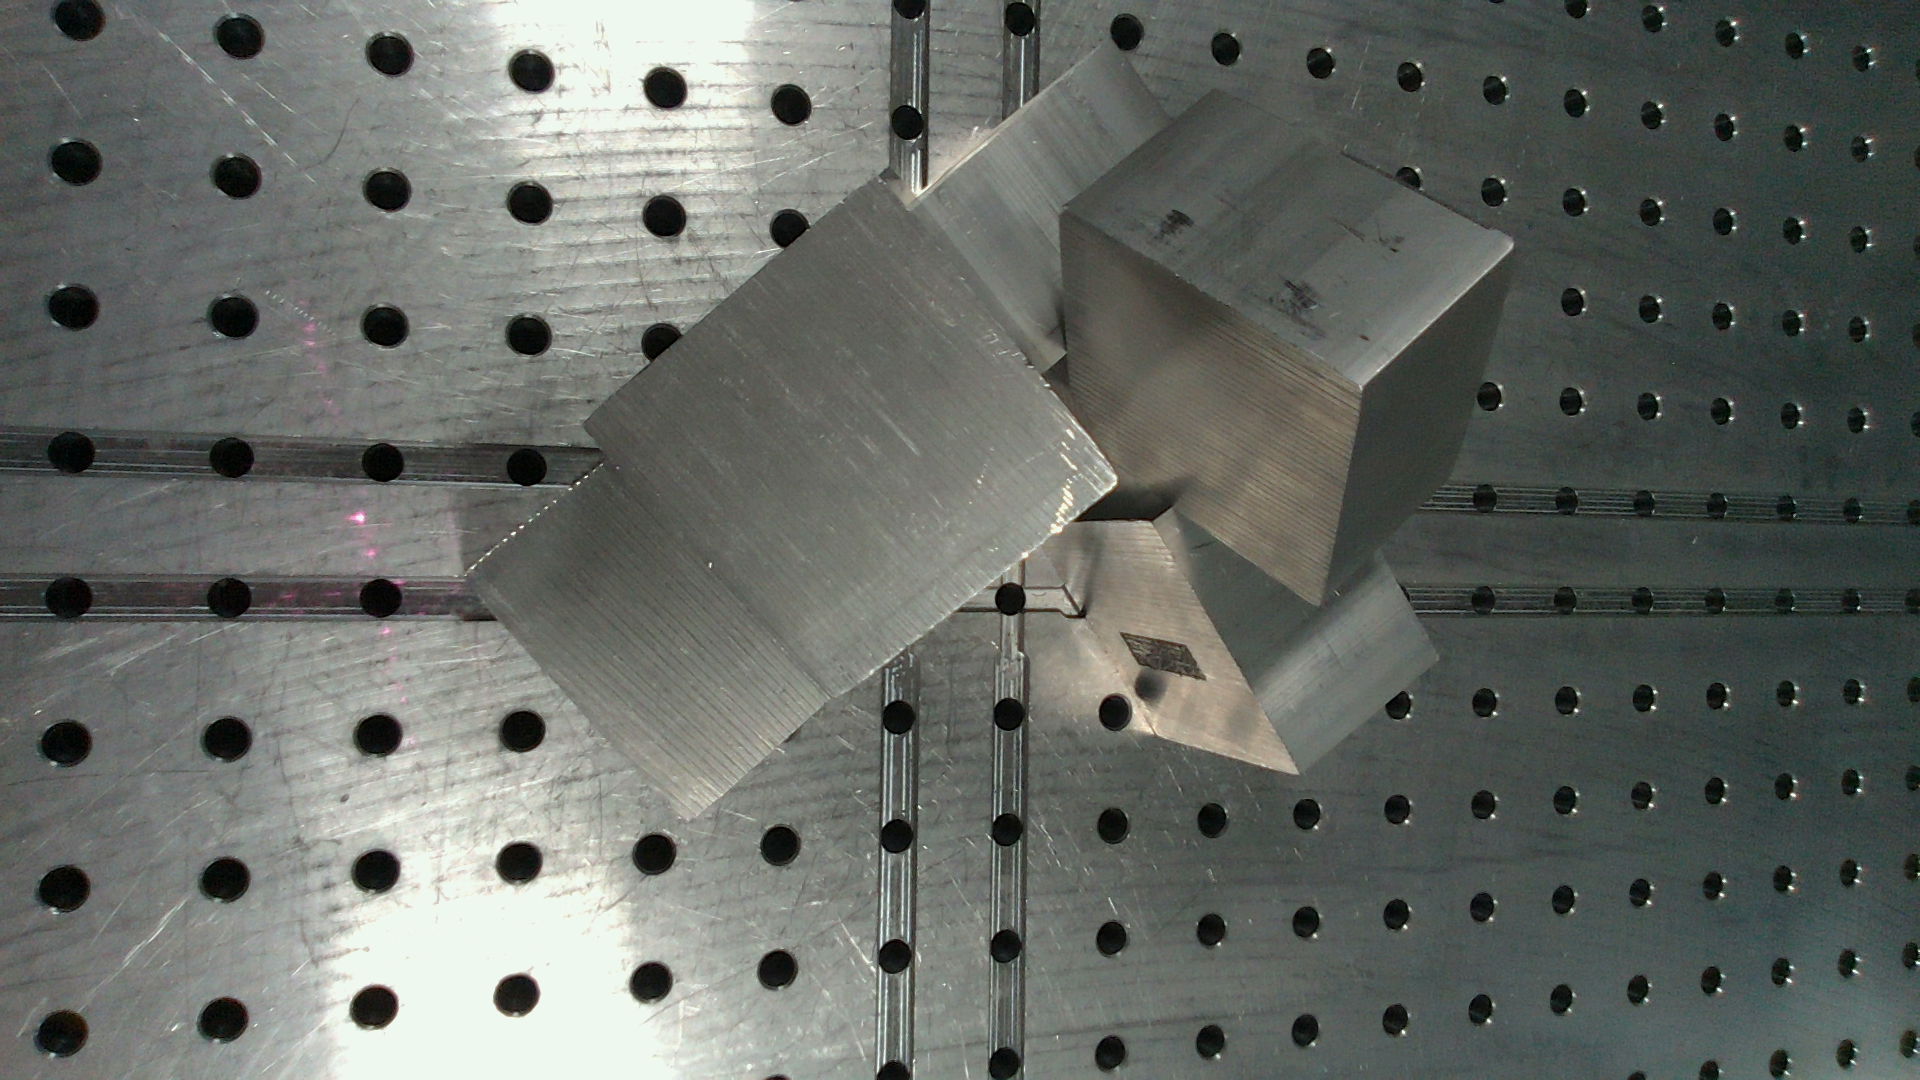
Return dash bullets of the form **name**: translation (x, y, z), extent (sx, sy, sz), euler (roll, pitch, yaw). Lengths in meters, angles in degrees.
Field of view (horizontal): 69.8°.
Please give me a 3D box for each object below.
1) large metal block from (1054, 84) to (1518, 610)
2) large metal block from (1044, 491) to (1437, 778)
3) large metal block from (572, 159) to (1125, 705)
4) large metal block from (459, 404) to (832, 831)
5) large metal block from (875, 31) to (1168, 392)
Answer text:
- **large metal block**: translation (0.070, -0.043, 0.317), extent (0.050, 0.080, 0.080), euler (-41, 60, -20)
- **large metal block**: translation (0.074, 0.014, 0.392), extent (0.050, 0.080, 0.080), euler (-36, 101, -16)
- **large metal block**: translation (-0.022, -0.025, 0.305), extent (0.080, 0.050, 0.080), euler (-38, 103, 10)
- **large metal block**: translation (-0.070, 0.014, 0.357), extent (0.080, 0.050, 0.080), euler (-41, 103, -15)
- **large metal block**: translation (0.011, -0.079, 0.369), extent (0.080, 0.080, 0.050), euler (-43, 104, -15)
